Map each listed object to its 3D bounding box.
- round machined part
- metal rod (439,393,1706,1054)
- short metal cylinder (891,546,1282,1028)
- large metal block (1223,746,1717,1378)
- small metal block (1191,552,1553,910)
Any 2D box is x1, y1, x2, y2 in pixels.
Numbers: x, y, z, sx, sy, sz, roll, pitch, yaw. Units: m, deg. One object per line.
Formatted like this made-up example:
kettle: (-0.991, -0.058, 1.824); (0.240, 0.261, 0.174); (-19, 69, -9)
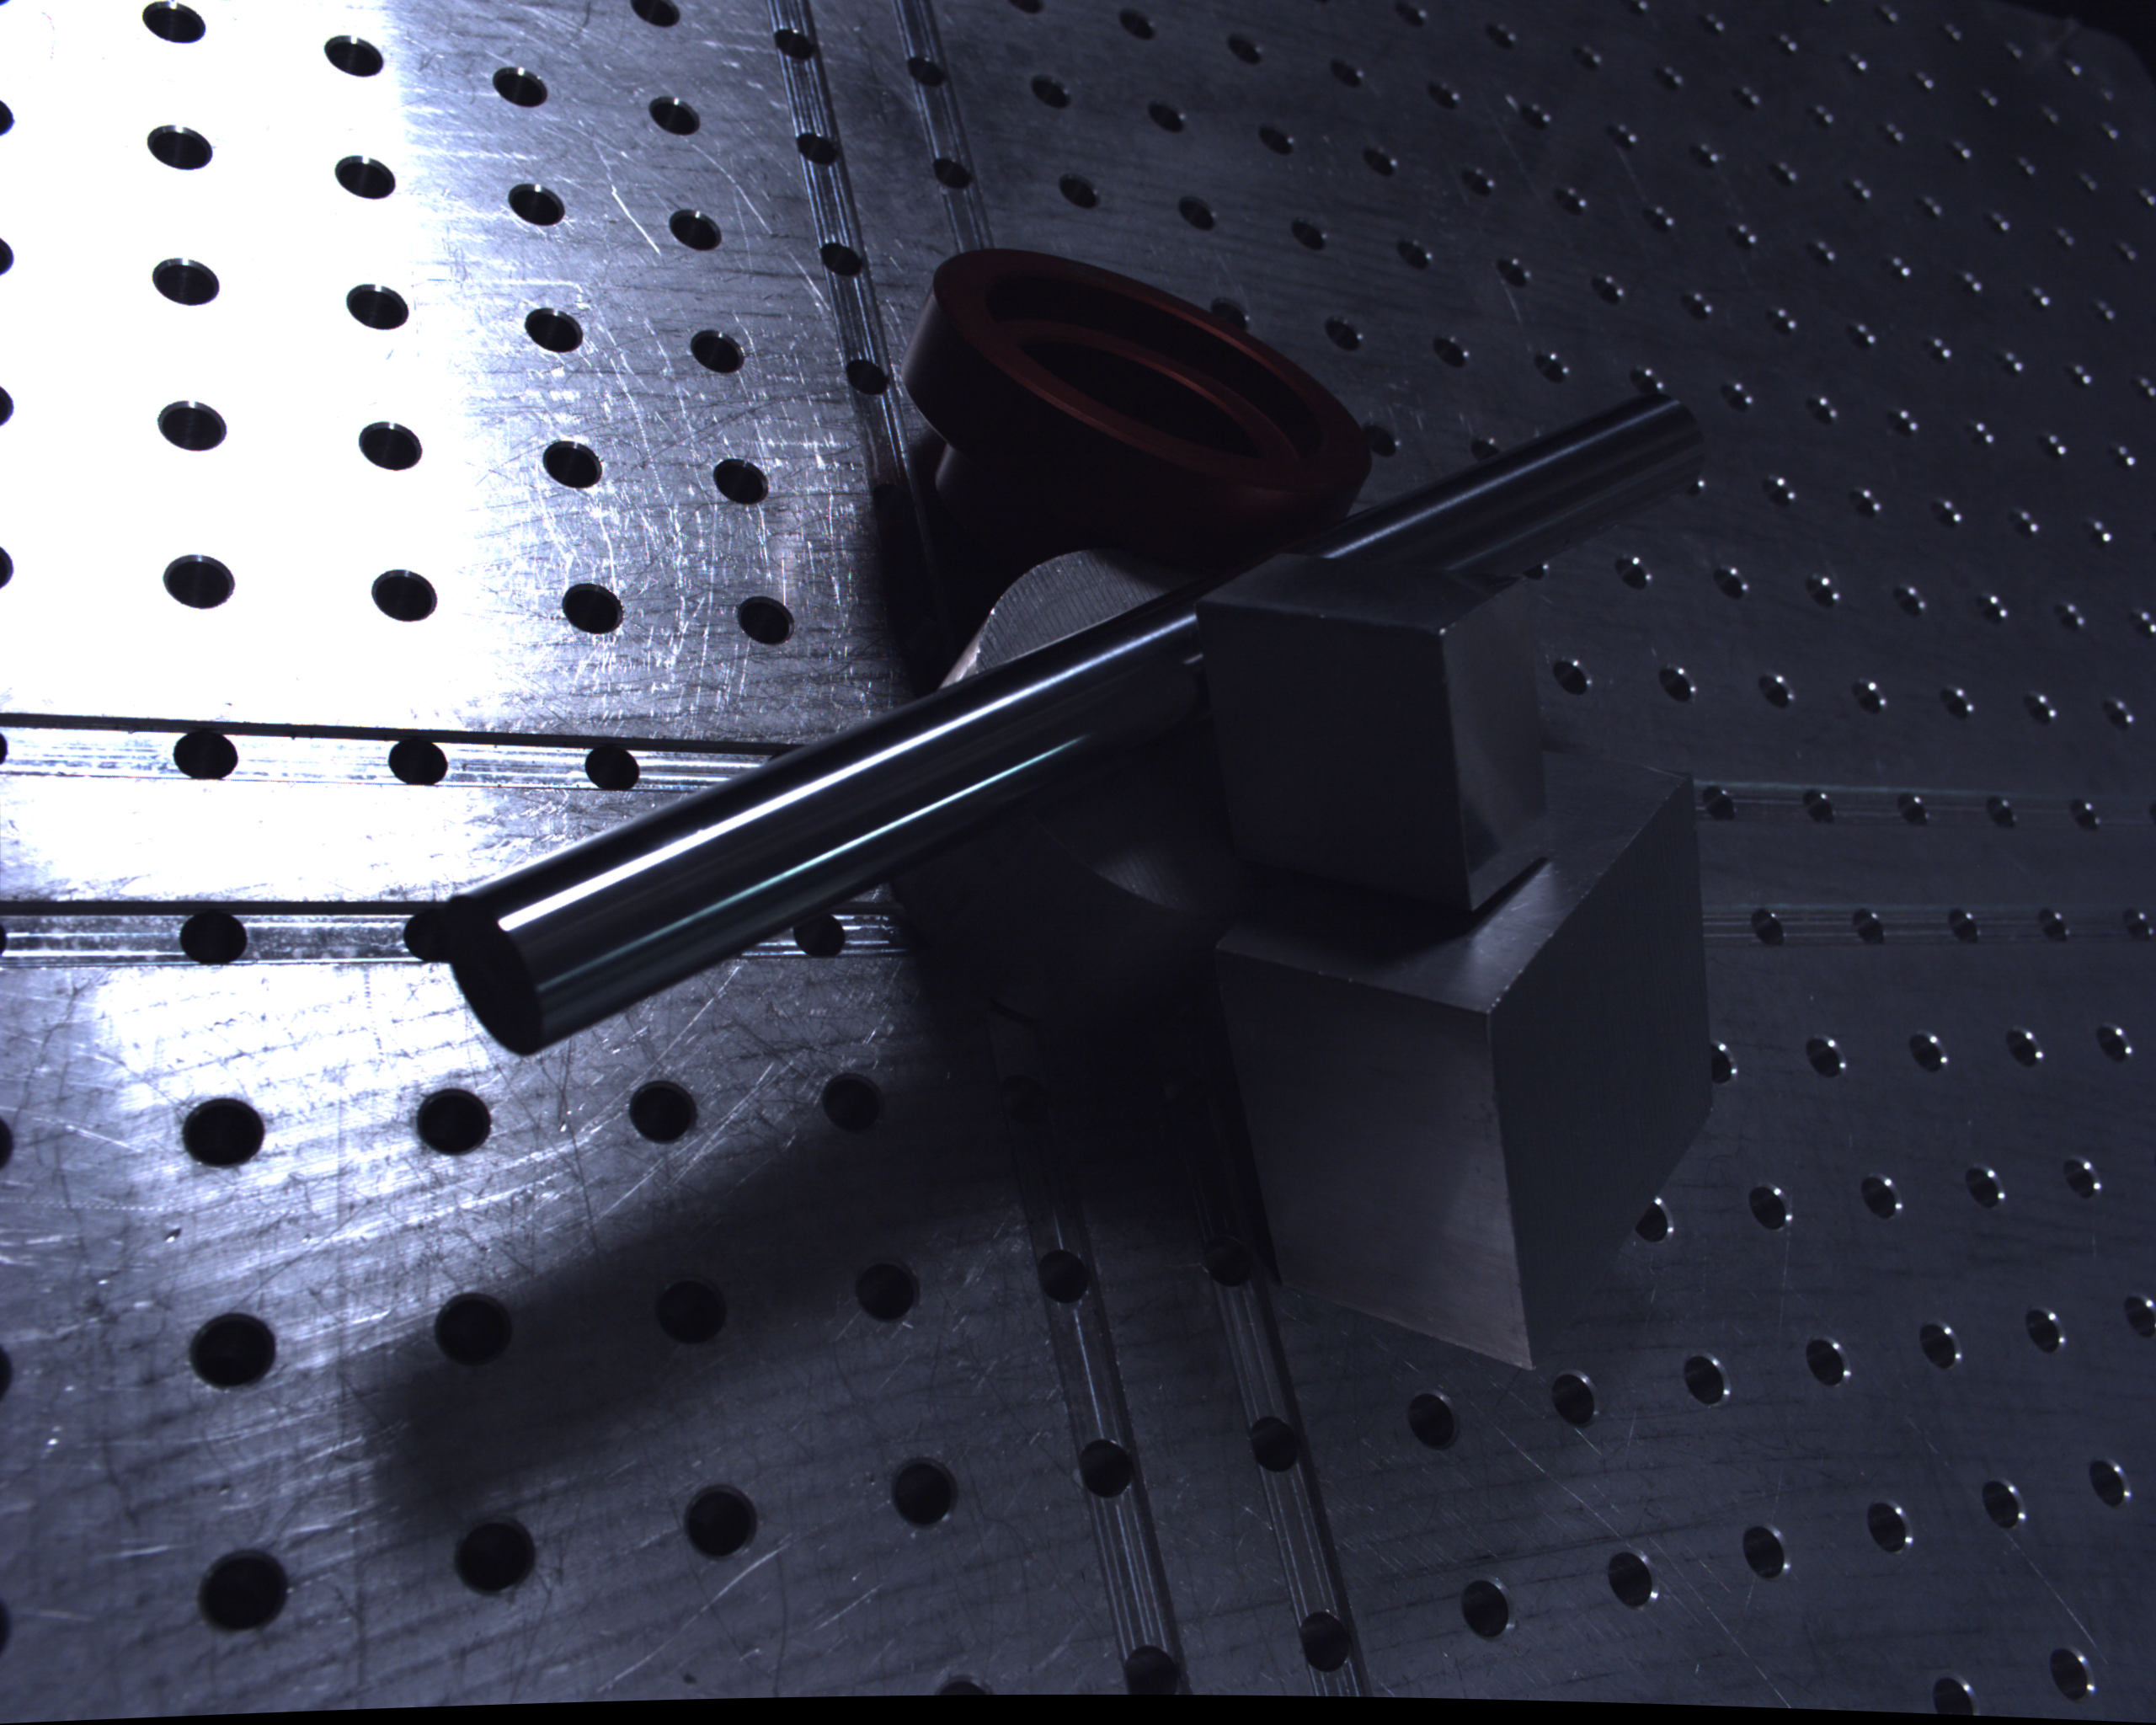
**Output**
round machined part: (0.009, -0.088, 0.442); (0.099, 0.042, 0.098); (19, 31, -12)
metal rod: (0.025, -0.039, 0.382); (0.302, 0.025, 0.025); (-27, 77, -37)
short metal cylinder: (0.008, -0.014, 0.406); (0.081, 0.050, 0.080); (14, 56, -21)
large metal block: (0.076, 0.032, 0.386); (0.080, 0.050, 0.080); (-41, 130, -39)
small metal block: (0.051, -0.024, 0.357); (0.025, 0.050, 0.050); (-34, 123, -38)
